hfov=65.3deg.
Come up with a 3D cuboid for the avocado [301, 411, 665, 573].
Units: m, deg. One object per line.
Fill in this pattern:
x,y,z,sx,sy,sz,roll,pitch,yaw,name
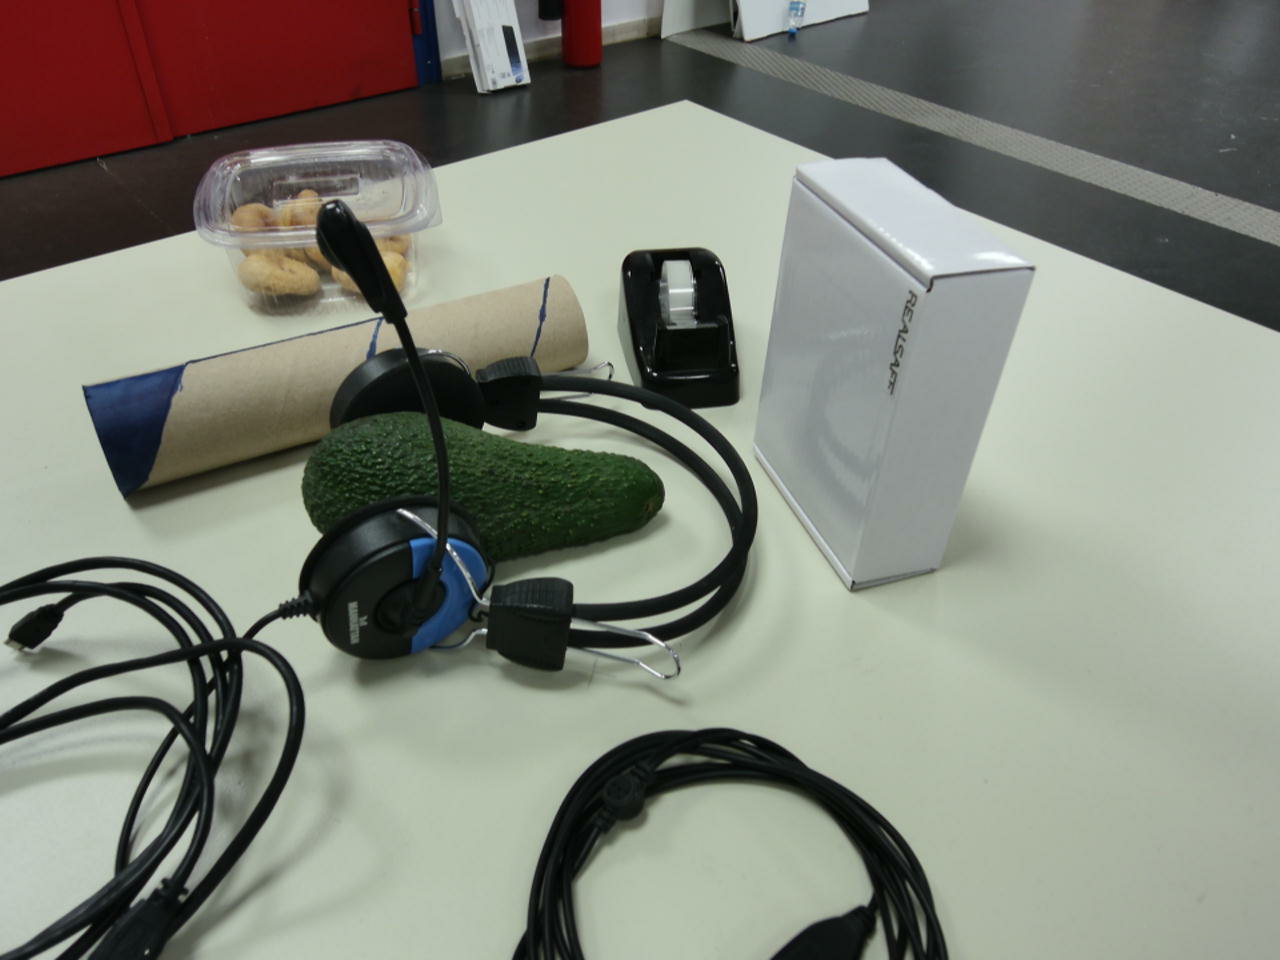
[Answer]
-0.061,-0.003,0.400,0.141,0.067,0.063,-15,40,-20,avocado
